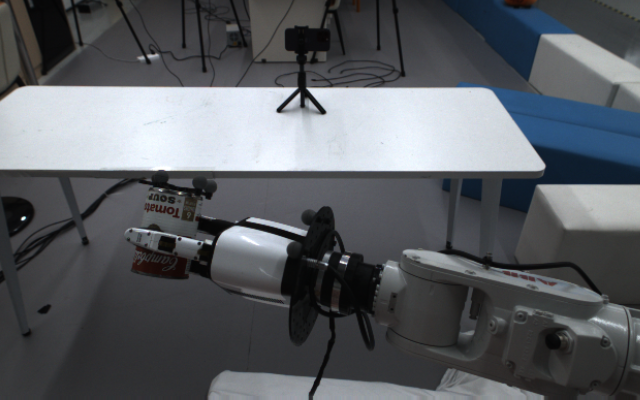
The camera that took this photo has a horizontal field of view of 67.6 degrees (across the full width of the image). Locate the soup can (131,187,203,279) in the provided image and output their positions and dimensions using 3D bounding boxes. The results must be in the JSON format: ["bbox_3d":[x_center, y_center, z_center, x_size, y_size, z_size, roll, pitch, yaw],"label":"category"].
[{"bbox_3d":[-0.183,0.041,0.588,0.067,0.101,0.067,9,-5,1],"label":"soup can"}]
